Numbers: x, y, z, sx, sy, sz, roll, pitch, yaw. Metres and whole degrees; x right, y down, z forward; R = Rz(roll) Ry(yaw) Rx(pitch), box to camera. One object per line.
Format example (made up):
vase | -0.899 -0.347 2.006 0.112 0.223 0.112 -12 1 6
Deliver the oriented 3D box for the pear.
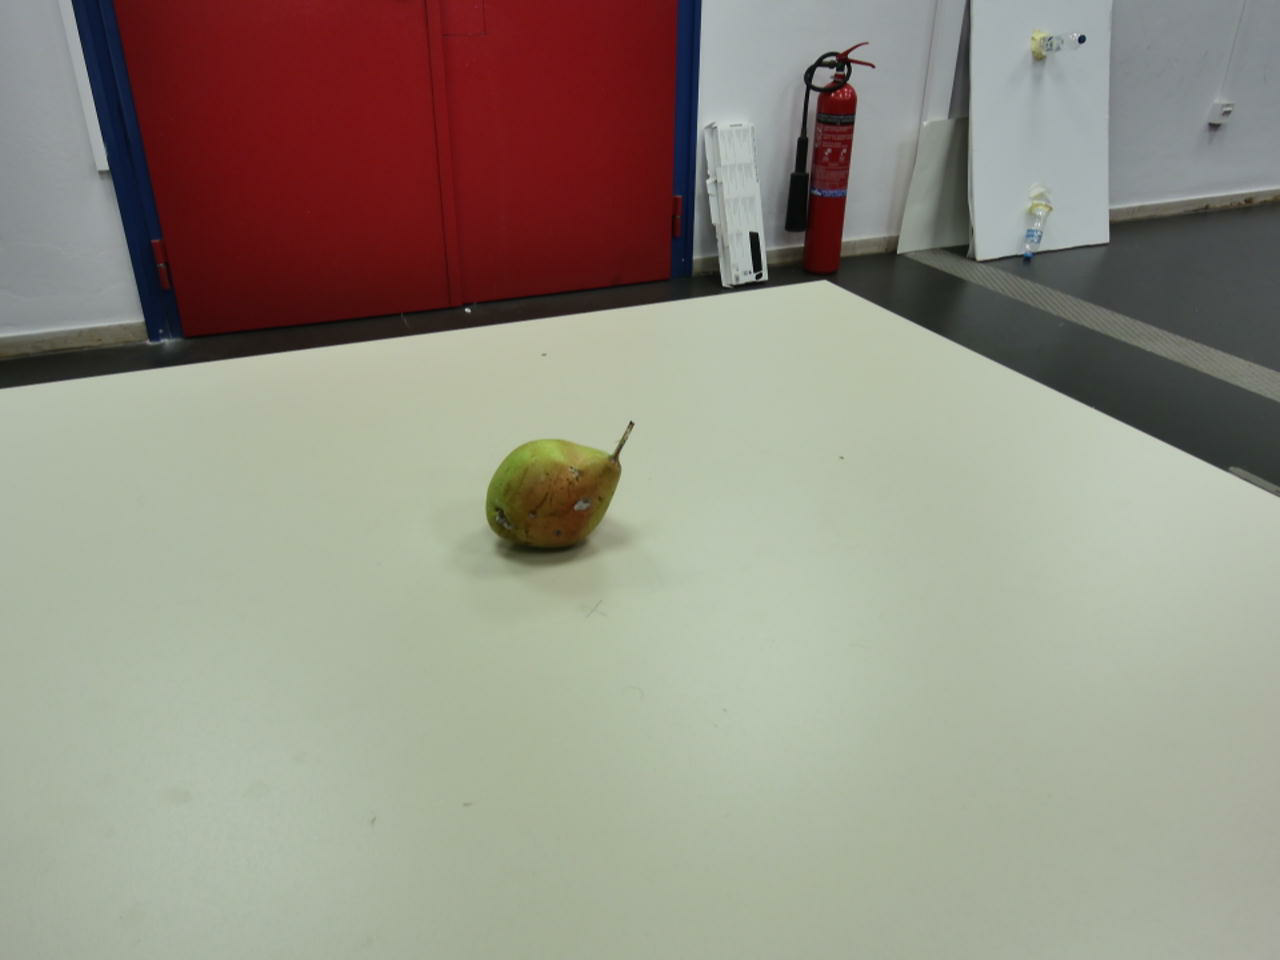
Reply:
pear | -0.049 0.006 0.566 0.070 0.069 0.068 12 29 24
